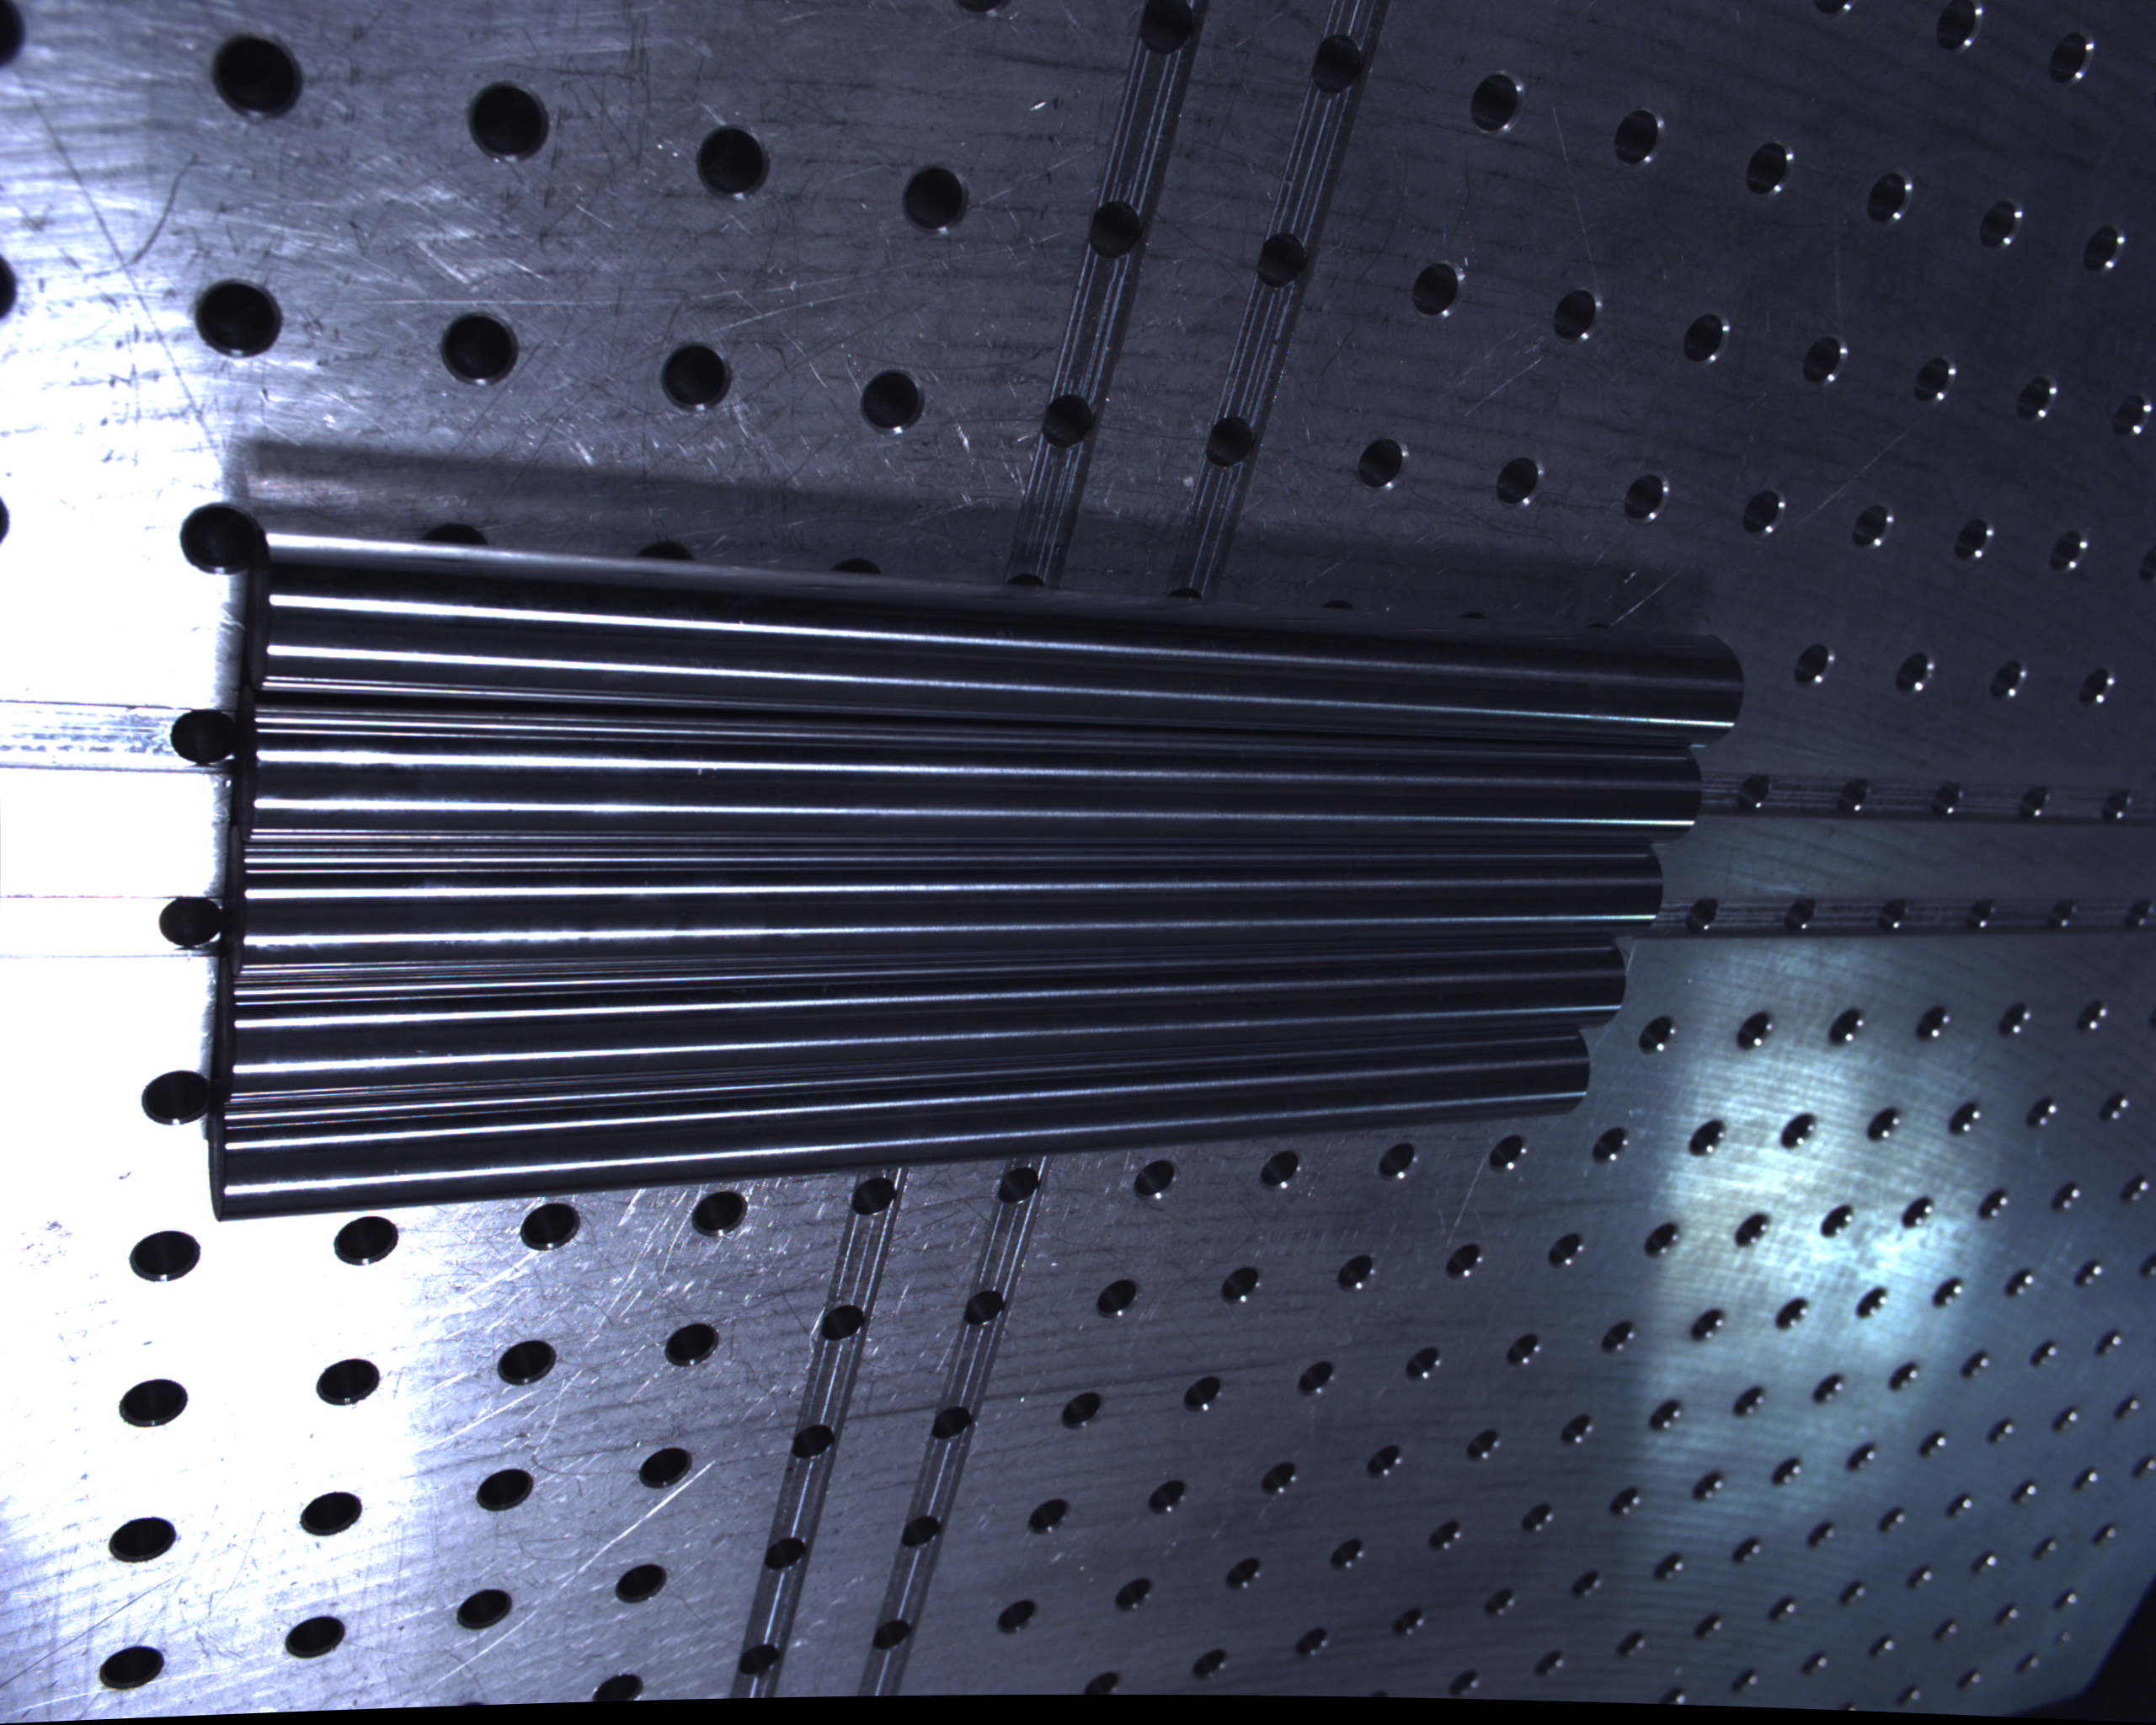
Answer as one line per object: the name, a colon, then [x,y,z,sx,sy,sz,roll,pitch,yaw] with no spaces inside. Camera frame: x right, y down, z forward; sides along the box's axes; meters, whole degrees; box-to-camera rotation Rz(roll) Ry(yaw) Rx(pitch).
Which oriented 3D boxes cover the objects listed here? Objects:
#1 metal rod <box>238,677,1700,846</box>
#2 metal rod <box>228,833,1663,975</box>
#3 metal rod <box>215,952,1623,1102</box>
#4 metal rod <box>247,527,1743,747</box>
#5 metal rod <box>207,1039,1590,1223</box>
metal rod: [0.001,-0.017,0.403,0.303,0.025,0.025,0,118,-29]
metal rod: [-0.005,0.006,0.414,0.303,0.025,0.025,0,118,-29]
metal rod: [-0.011,0.028,0.424,0.303,0.025,0.025,0,118,-29]
metal rod: [0.007,-0.039,0.393,0.303,0.025,0.025,0,118,-29]
metal rod: [-0.017,0.049,0.434,0.303,0.025,0.025,0,119,-29]
